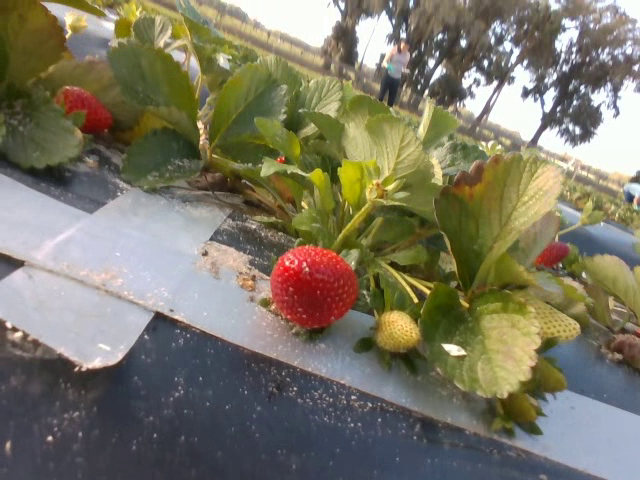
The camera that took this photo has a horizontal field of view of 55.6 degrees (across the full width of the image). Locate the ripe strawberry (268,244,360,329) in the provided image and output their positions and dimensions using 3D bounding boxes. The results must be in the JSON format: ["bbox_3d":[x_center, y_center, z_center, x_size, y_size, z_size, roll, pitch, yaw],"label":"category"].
[{"bbox_3d":[-0.001,0.008,0.125,0.023,0.021,0.026,4,-6,14],"label":"ripe strawberry"}]
